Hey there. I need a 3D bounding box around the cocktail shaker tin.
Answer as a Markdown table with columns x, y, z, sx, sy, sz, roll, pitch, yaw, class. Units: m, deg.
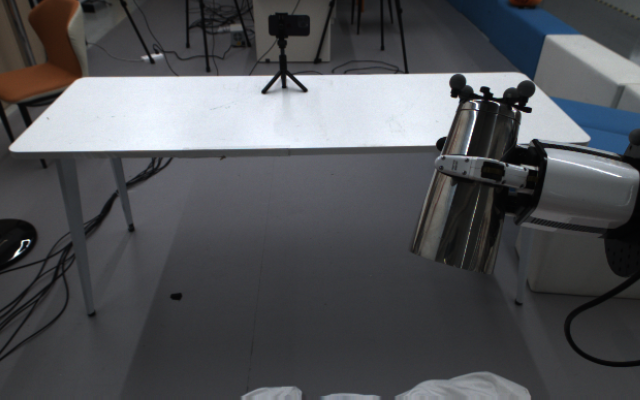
| x | y | z | sx | sy | sz | roll | pitch | yaw | class |
| --- | --- | --- | --- | --- | --- | --- | --- | --- | --- |
| 0.162 | -0.016 | 0.522 | 0.093 | 0.170 | 0.093 | 14 | 2 | 0 | cocktail shaker tin |
